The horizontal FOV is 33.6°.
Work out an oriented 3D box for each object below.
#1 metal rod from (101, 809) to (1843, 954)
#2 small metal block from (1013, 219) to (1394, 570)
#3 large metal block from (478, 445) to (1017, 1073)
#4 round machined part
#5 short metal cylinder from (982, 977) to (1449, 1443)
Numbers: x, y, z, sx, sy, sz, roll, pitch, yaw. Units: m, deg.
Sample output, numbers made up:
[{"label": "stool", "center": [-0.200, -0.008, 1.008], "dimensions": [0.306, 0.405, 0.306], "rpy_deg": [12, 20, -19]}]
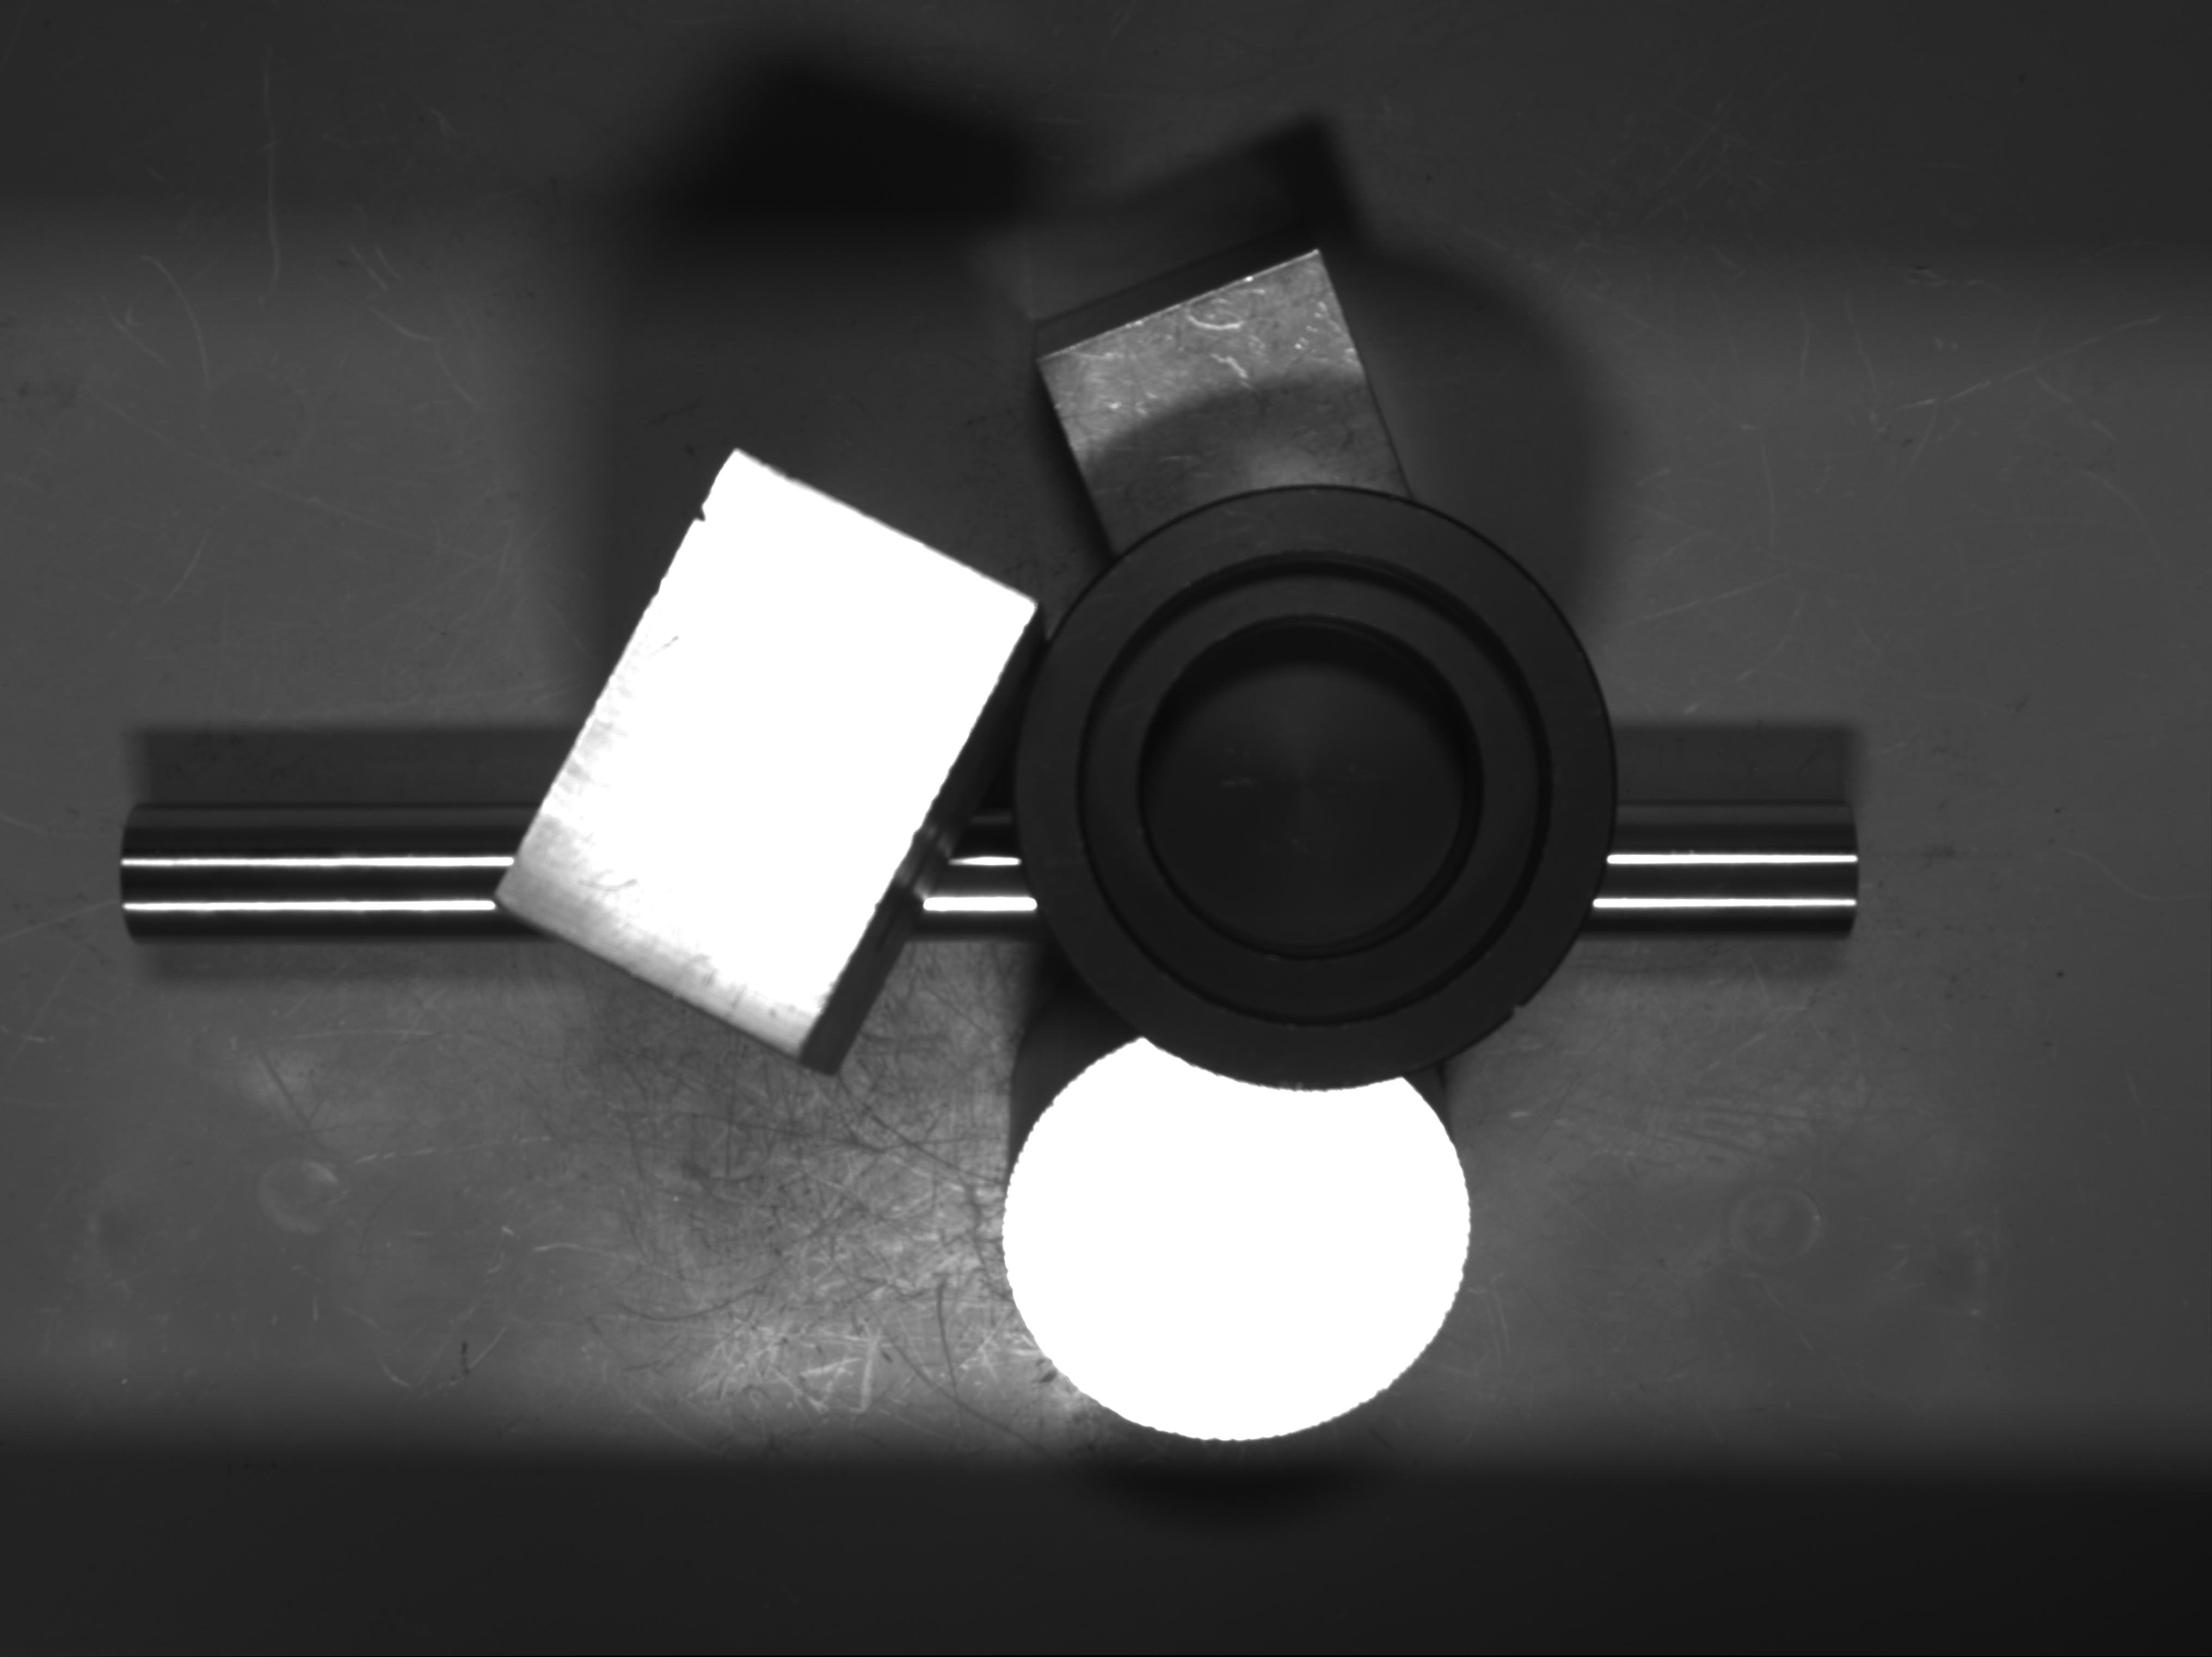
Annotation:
[{"label": "metal rod", "center": [-0.023, 0.009, 0.643], "dimensions": [0.300, 0.025, 0.025], "rpy_deg": [0, 110, -1]}, {"label": "small metal block", "center": [0.017, -0.068, 0.618], "dimensions": [0.050, 0.025, 0.050], "rpy_deg": [-20, 109, 6]}, {"label": "large metal block", "center": [-0.055, -0.008, 0.594], "dimensions": [0.050, 0.080, 0.080], "rpy_deg": [27, 85, 2]}, {"label": "round machined part", "center": [0.030, -0.007, 0.610], "dimensions": [0.098, 0.042, 0.098], "rpy_deg": [0, 92, 0]}, {"label": "short metal cylinder", "center": [0.019, 0.061, 0.650], "dimensions": [0.080, 0.050, 0.080], "rpy_deg": [0, 110, -1]}]
